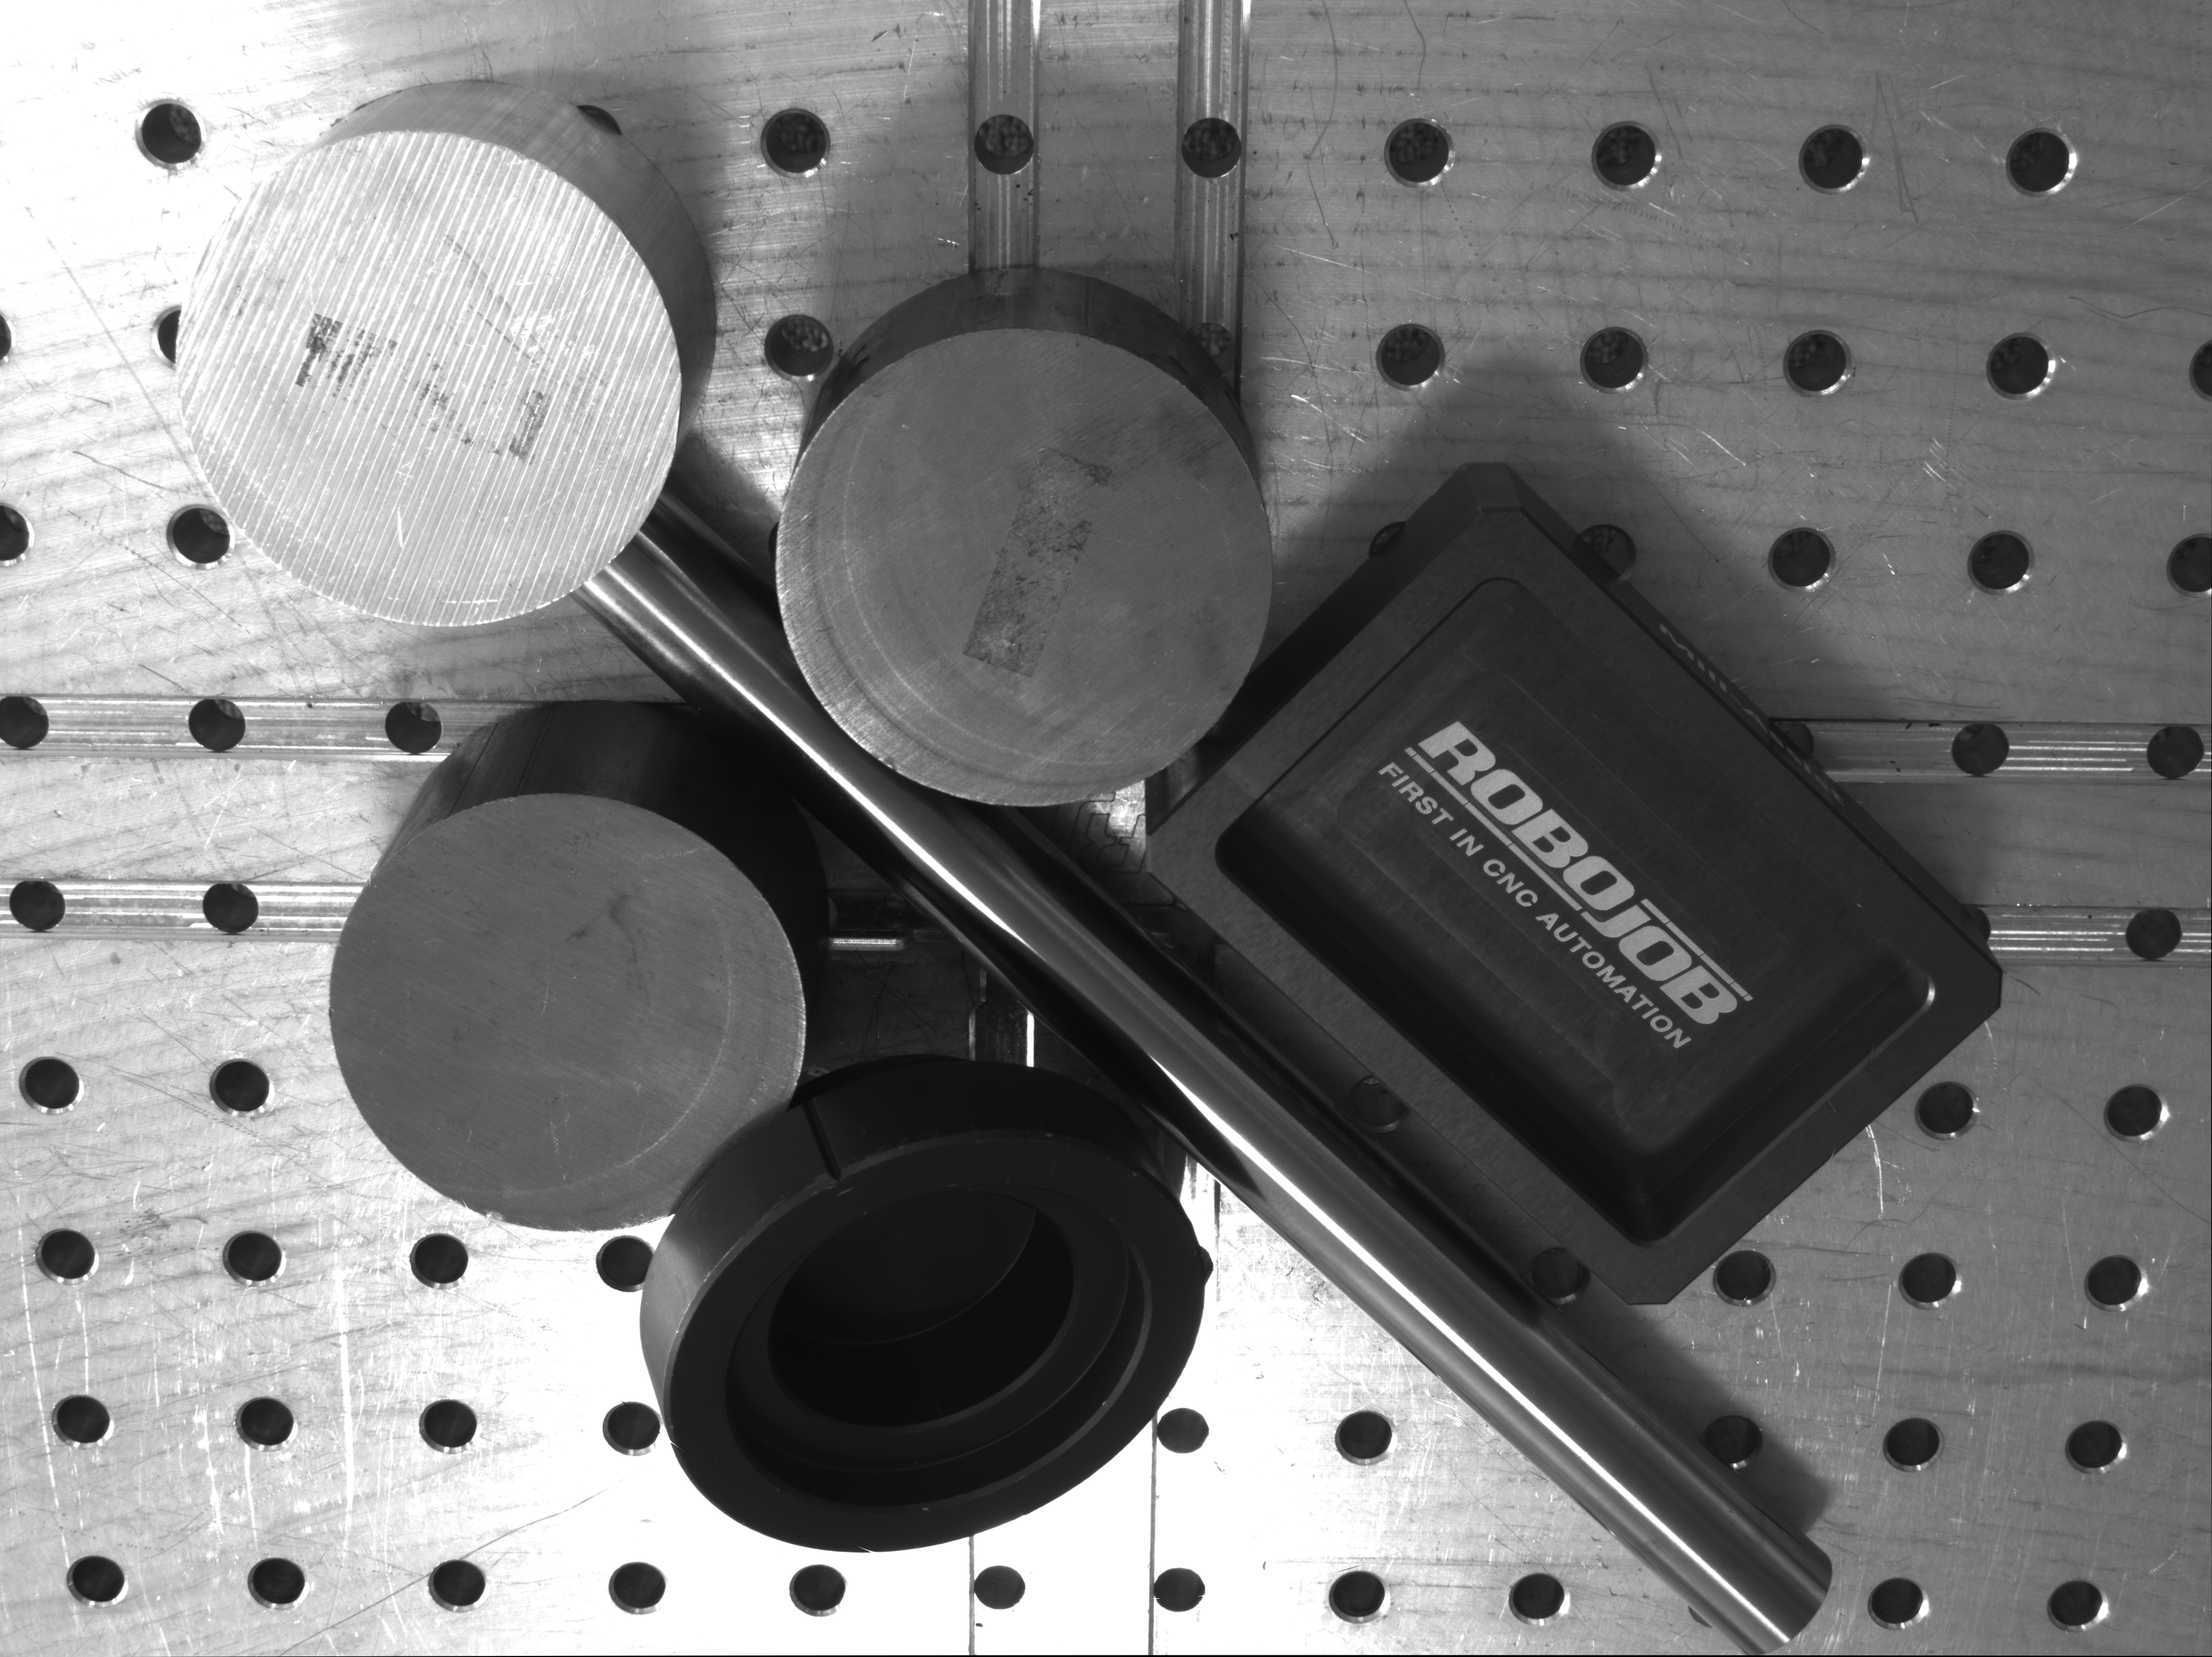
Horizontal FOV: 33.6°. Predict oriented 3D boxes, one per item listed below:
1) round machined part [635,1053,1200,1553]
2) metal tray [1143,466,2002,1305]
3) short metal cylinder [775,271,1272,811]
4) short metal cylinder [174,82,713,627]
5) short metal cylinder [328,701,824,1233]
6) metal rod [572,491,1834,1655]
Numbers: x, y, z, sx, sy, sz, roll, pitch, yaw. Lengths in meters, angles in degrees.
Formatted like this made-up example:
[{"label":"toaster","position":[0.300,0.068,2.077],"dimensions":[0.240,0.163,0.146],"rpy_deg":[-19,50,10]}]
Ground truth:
[{"label":"round machined part","position":[-0.036,0.079,0.654],"dimensions":[0.098,0.042,0.098],"rpy_deg":[-11,127,-15]},{"label":"metal tray","position":[0.081,0.012,0.647],"dimensions":[0.130,0.030,0.090],"rpy_deg":[42,105,-14]},{"label":"short metal cylinder","position":[-0.013,-0.049,0.614],"dimensions":[0.080,0.050,0.080],"rpy_deg":[0,110,0]},{"label":"short metal cylinder","position":[-0.107,-0.079,0.604],"dimensions":[0.080,0.050,0.080],"rpy_deg":[0,110,0]},{"label":"short metal cylinder","position":[-0.091,0.024,0.641],"dimensions":[0.080,0.050,0.080],"rpy_deg":[0,110,0]},{"label":"metal rod","position":[0.022,0.049,0.664],"dimensions":[0.300,0.025,0.025],"rpy_deg":[43,105,-14]}]
